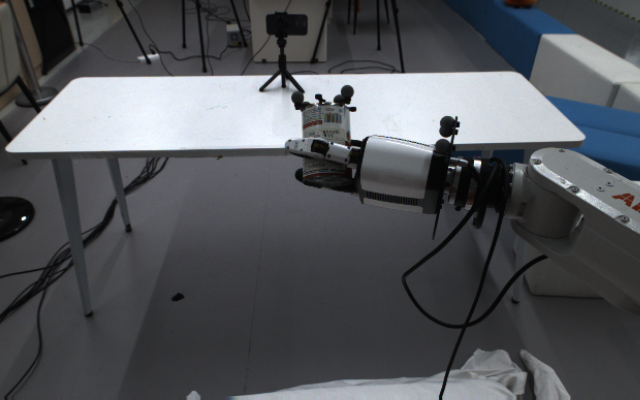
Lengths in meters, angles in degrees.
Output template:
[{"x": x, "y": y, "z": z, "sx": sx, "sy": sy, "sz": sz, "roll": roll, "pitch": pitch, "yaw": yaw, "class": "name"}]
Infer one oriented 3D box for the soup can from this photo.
[{"x": 0.010, "y": -0.073, "z": 0.653, "sx": 0.067, "sy": 0.101, "sz": 0.067, "roll": -1, "pitch": -9, "yaw": 0, "class": "soup can"}]
